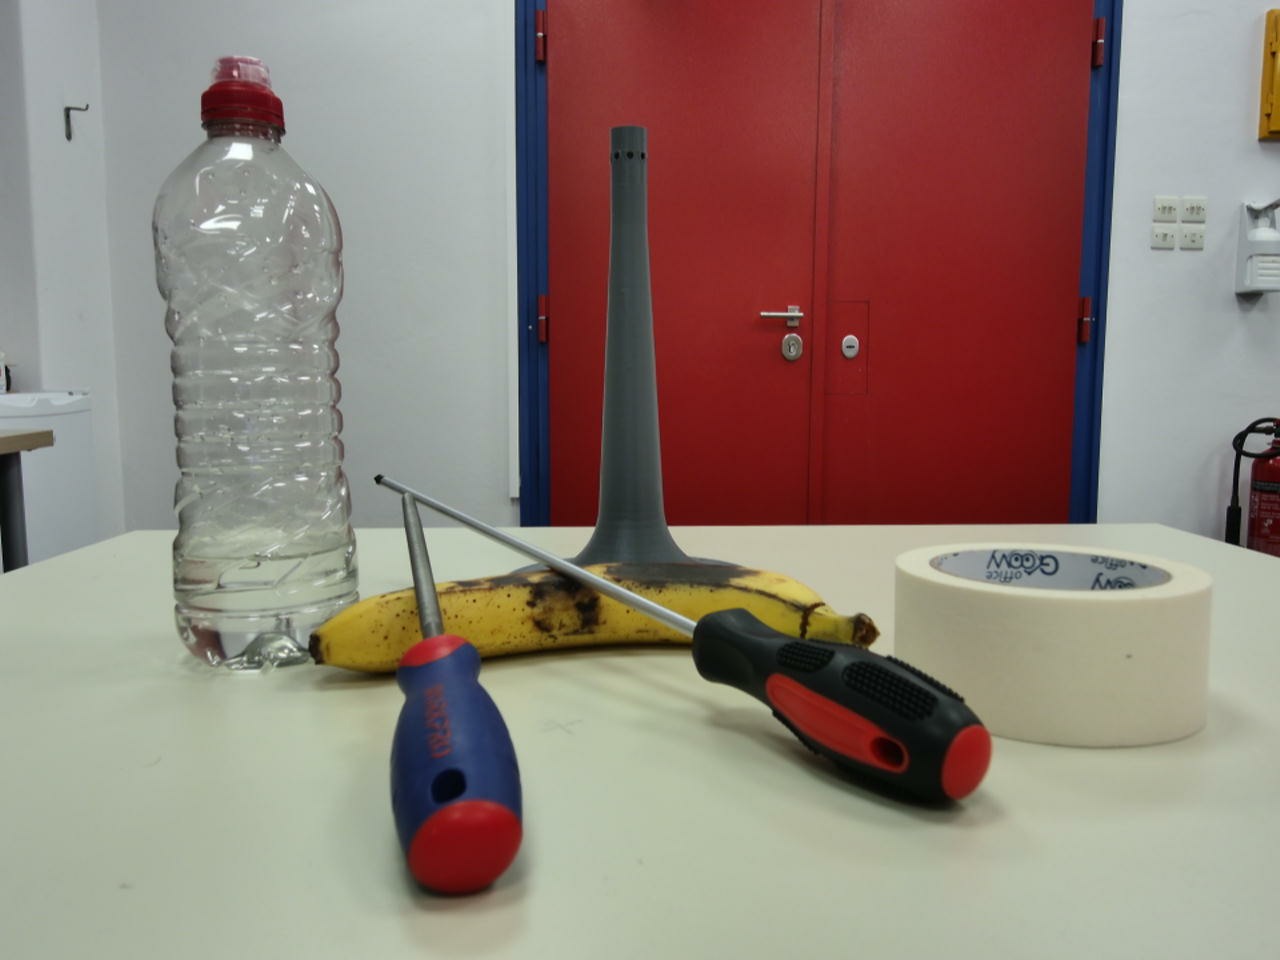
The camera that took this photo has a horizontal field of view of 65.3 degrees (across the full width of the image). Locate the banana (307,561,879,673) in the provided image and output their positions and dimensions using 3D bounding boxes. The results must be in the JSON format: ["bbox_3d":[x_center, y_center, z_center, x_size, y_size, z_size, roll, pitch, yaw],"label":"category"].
[{"bbox_3d":[-0.019,0.058,0.424,0.222,0.037,0.084,0,4,0],"label":"banana"}]
